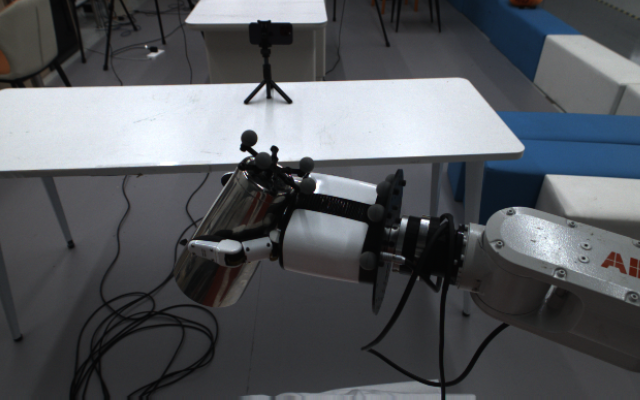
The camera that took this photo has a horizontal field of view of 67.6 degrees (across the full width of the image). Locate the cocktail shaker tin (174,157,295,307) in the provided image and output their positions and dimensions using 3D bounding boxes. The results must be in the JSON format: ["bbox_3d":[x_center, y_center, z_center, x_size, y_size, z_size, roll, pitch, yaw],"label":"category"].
[{"bbox_3d":[-0.094,0.031,0.558,0.093,0.170,0.093,26,32,-17],"label":"cocktail shaker tin"}]
